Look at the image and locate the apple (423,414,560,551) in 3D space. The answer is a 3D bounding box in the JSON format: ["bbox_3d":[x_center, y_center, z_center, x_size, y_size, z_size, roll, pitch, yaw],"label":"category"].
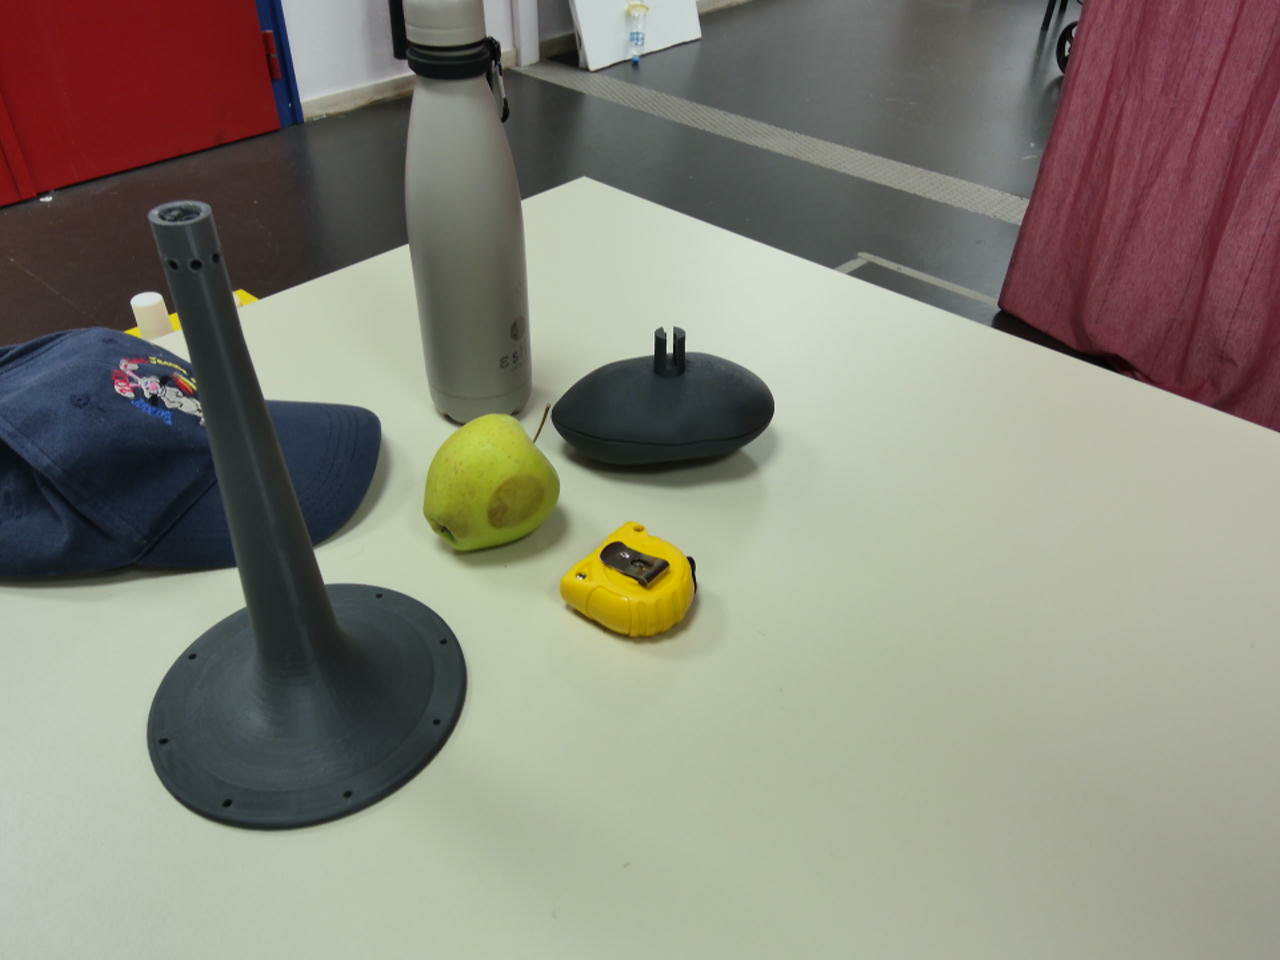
[{"bbox_3d":[-0.087,0.000,0.582,0.077,0.075,0.072,-3,37,-4],"label":"apple"}]
